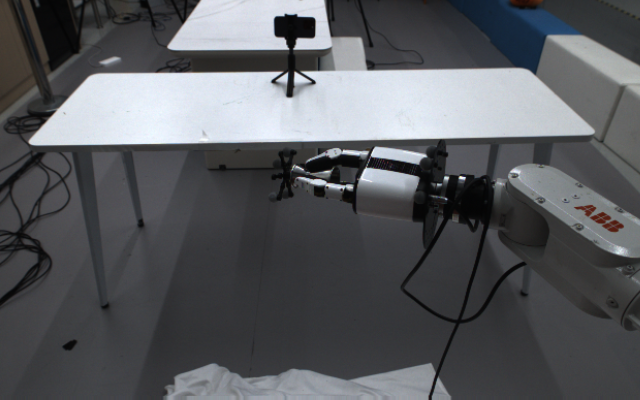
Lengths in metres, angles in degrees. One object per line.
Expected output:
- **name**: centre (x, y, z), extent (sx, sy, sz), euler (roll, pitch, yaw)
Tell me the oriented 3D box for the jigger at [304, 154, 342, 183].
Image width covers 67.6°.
- **jigger**: centre (-0.002, -0.038, 0.754), extent (0.071, 0.043, 0.043), euler (7, 34, 23)
